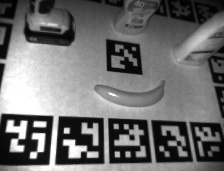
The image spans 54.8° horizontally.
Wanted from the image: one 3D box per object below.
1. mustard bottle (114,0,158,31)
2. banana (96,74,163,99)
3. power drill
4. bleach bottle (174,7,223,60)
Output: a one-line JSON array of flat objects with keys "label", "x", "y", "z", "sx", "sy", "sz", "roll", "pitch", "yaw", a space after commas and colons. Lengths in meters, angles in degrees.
[{"label": "mustard bottle", "x": 0.078, "y": -0.223, "z": 0.568, "sx": 0.097, "sy": 0.190, "sz": 0.058, "roll": -2, "pitch": 69, "yaw": -19}, {"label": "banana", "x": 0.058, "y": -0.001, "z": 0.546, "sx": 0.199, "sy": 0.039, "sz": 0.074, "roll": 0, "pitch": 71, "yaw": -15}, {"label": "power drill", "x": -0.096, "y": -0.209, "z": 0.471, "sx": 0.186, "sy": 0.186, "sz": 0.057, "roll": -1, "pitch": 69, "yaw": -14}, {"label": "bleach bottle", "x": 0.271, "y": -0.156, "z": 0.569, "sx": 0.103, "sy": 0.250, "sz": 0.068, "roll": 13, "pitch": 65, "yaw": -12}]
